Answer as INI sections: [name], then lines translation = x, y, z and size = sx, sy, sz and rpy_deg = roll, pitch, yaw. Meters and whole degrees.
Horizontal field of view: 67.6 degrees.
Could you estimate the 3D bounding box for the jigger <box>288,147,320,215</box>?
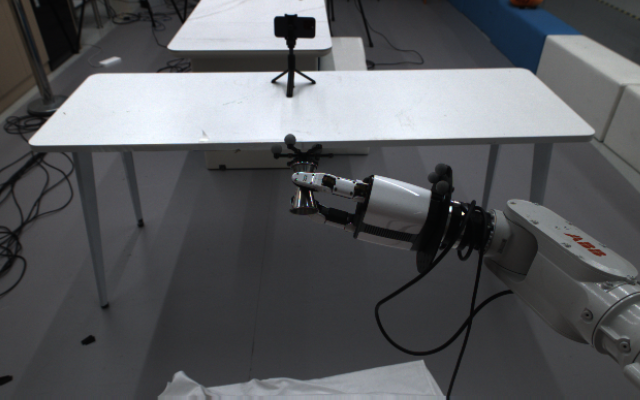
[jigger]
translation = -0.023, -0.018, 0.697
size = 0.043, 0.043, 0.071
rpy_deg = 0, 75, -3
